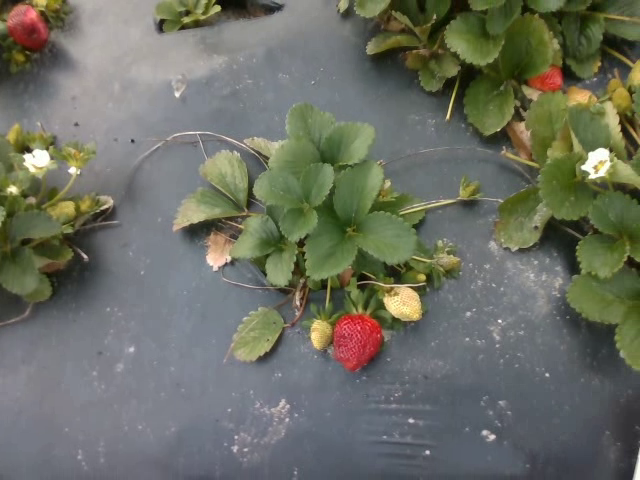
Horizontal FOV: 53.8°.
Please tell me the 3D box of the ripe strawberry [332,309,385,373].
[{"bbox_3d":[0.030,0.090,0.516,0.046,0.046,0.059,-2,38,18],"label":"ripe strawberry"}]
